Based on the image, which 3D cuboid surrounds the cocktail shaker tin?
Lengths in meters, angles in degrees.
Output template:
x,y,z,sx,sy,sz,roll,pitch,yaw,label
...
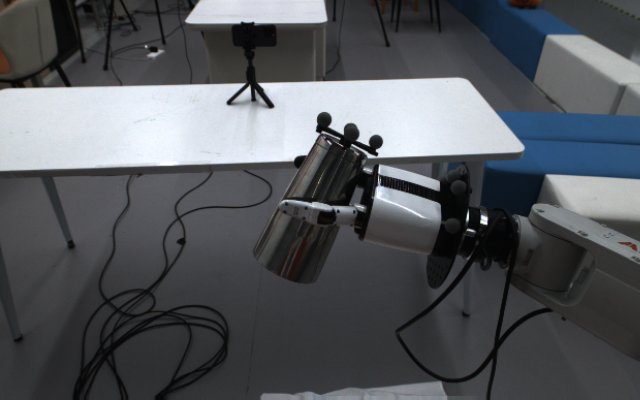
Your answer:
x,y,z,sx,sy,sz,roll,pitch,yaw,label
-0.005,0.006,0.604,0.093,0.170,0.093,24,12,-6,cocktail shaker tin
